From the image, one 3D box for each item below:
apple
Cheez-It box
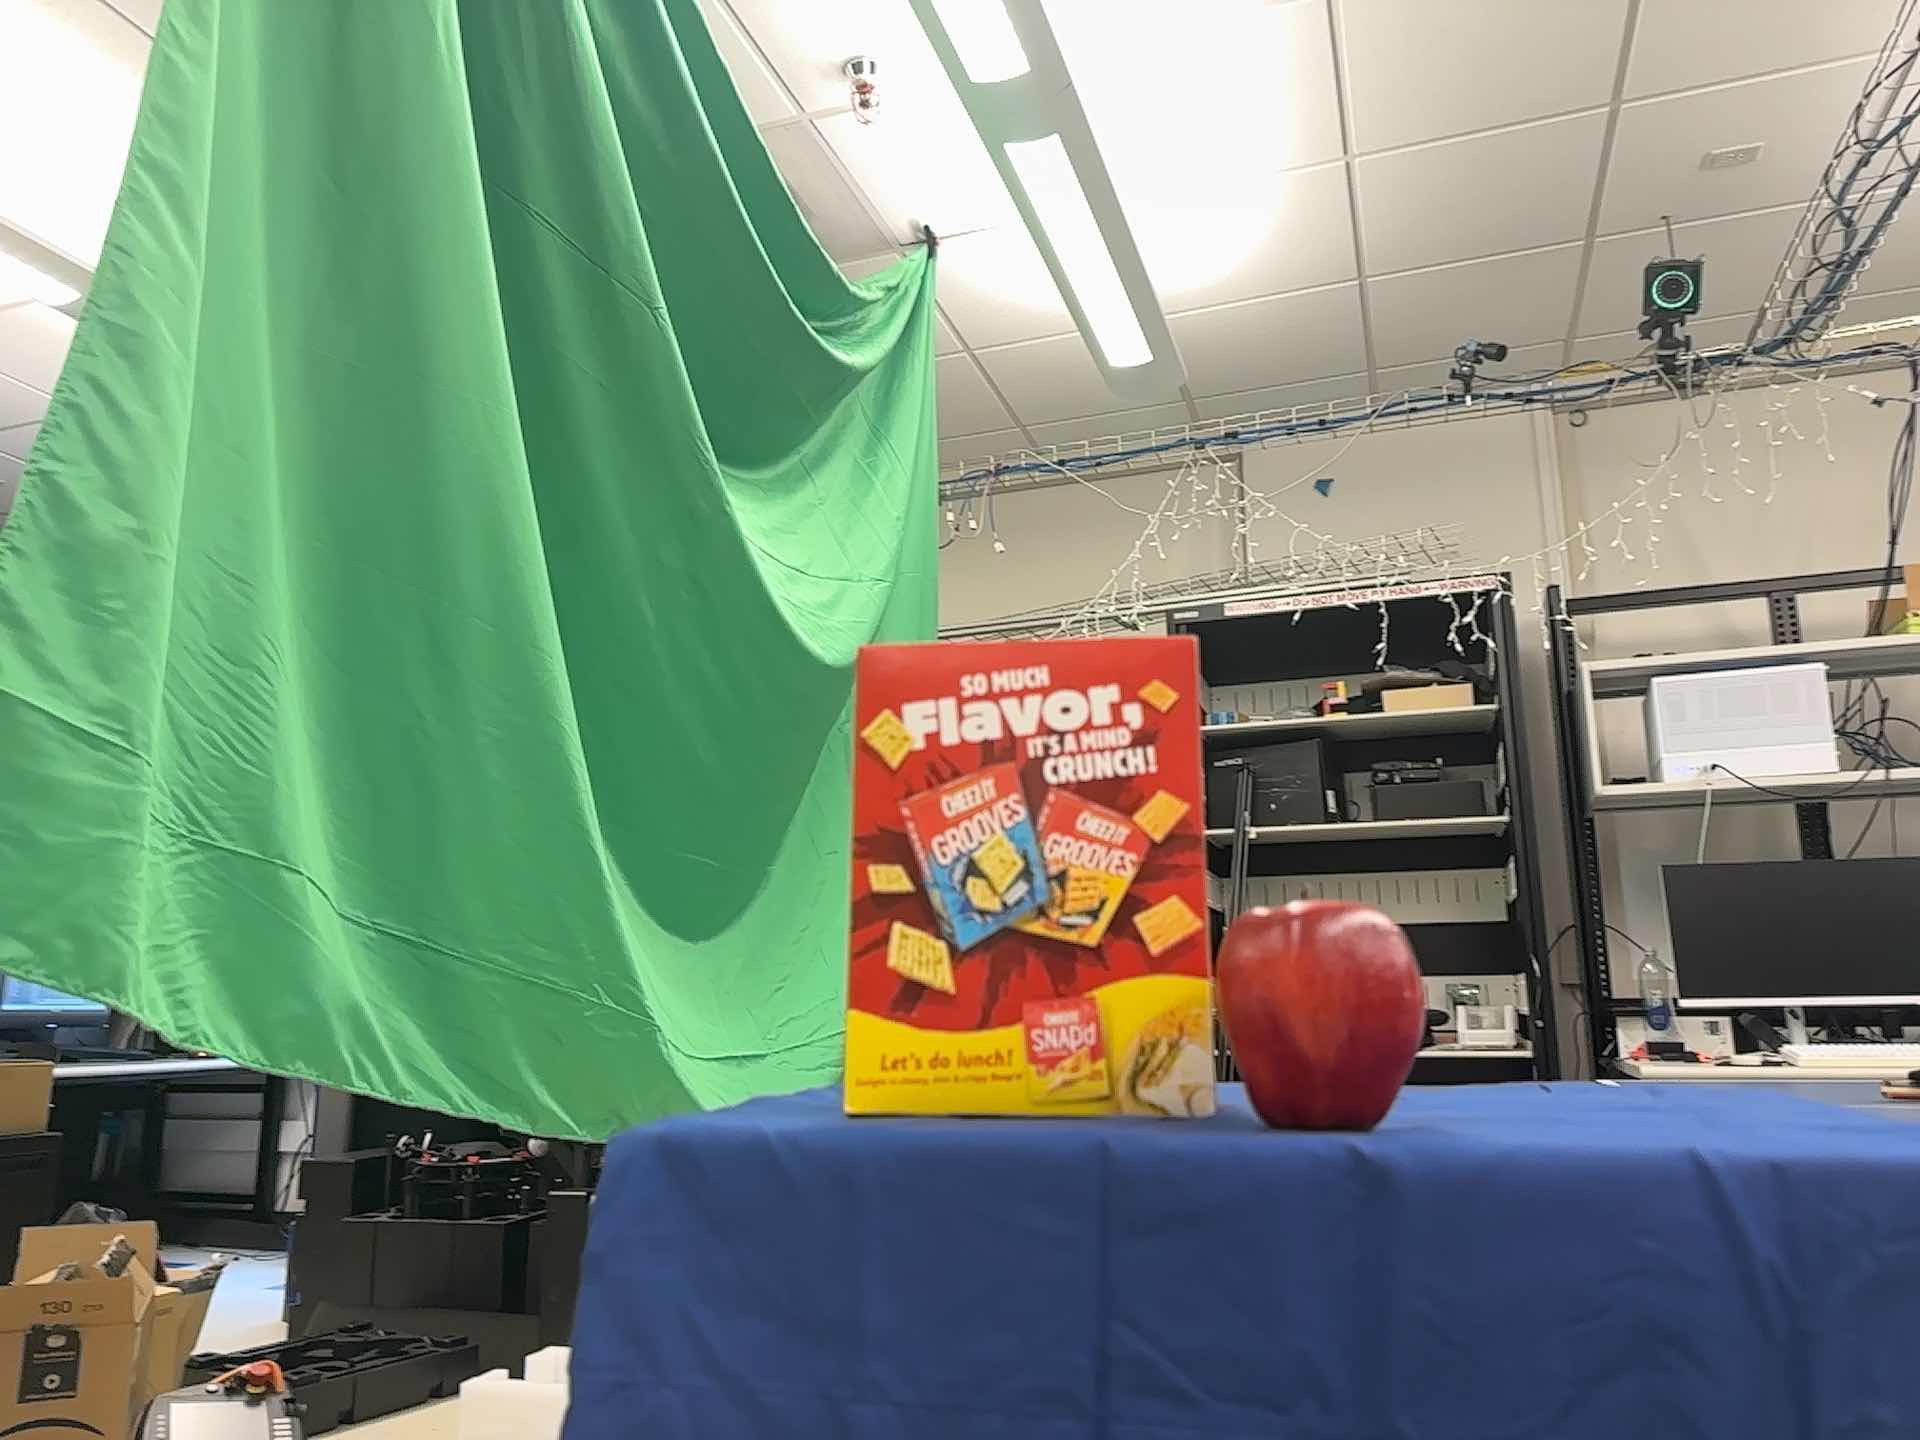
[{"bbox_3d":[0.144,0.113,0.539,0.079,0.093,0.079,-2,-10,0],"label":"apple"},{"bbox_3d":[0.033,0.072,0.632,0.159,0.214,0.062,-1,-11,4],"label":"Cheez-It box"}]
